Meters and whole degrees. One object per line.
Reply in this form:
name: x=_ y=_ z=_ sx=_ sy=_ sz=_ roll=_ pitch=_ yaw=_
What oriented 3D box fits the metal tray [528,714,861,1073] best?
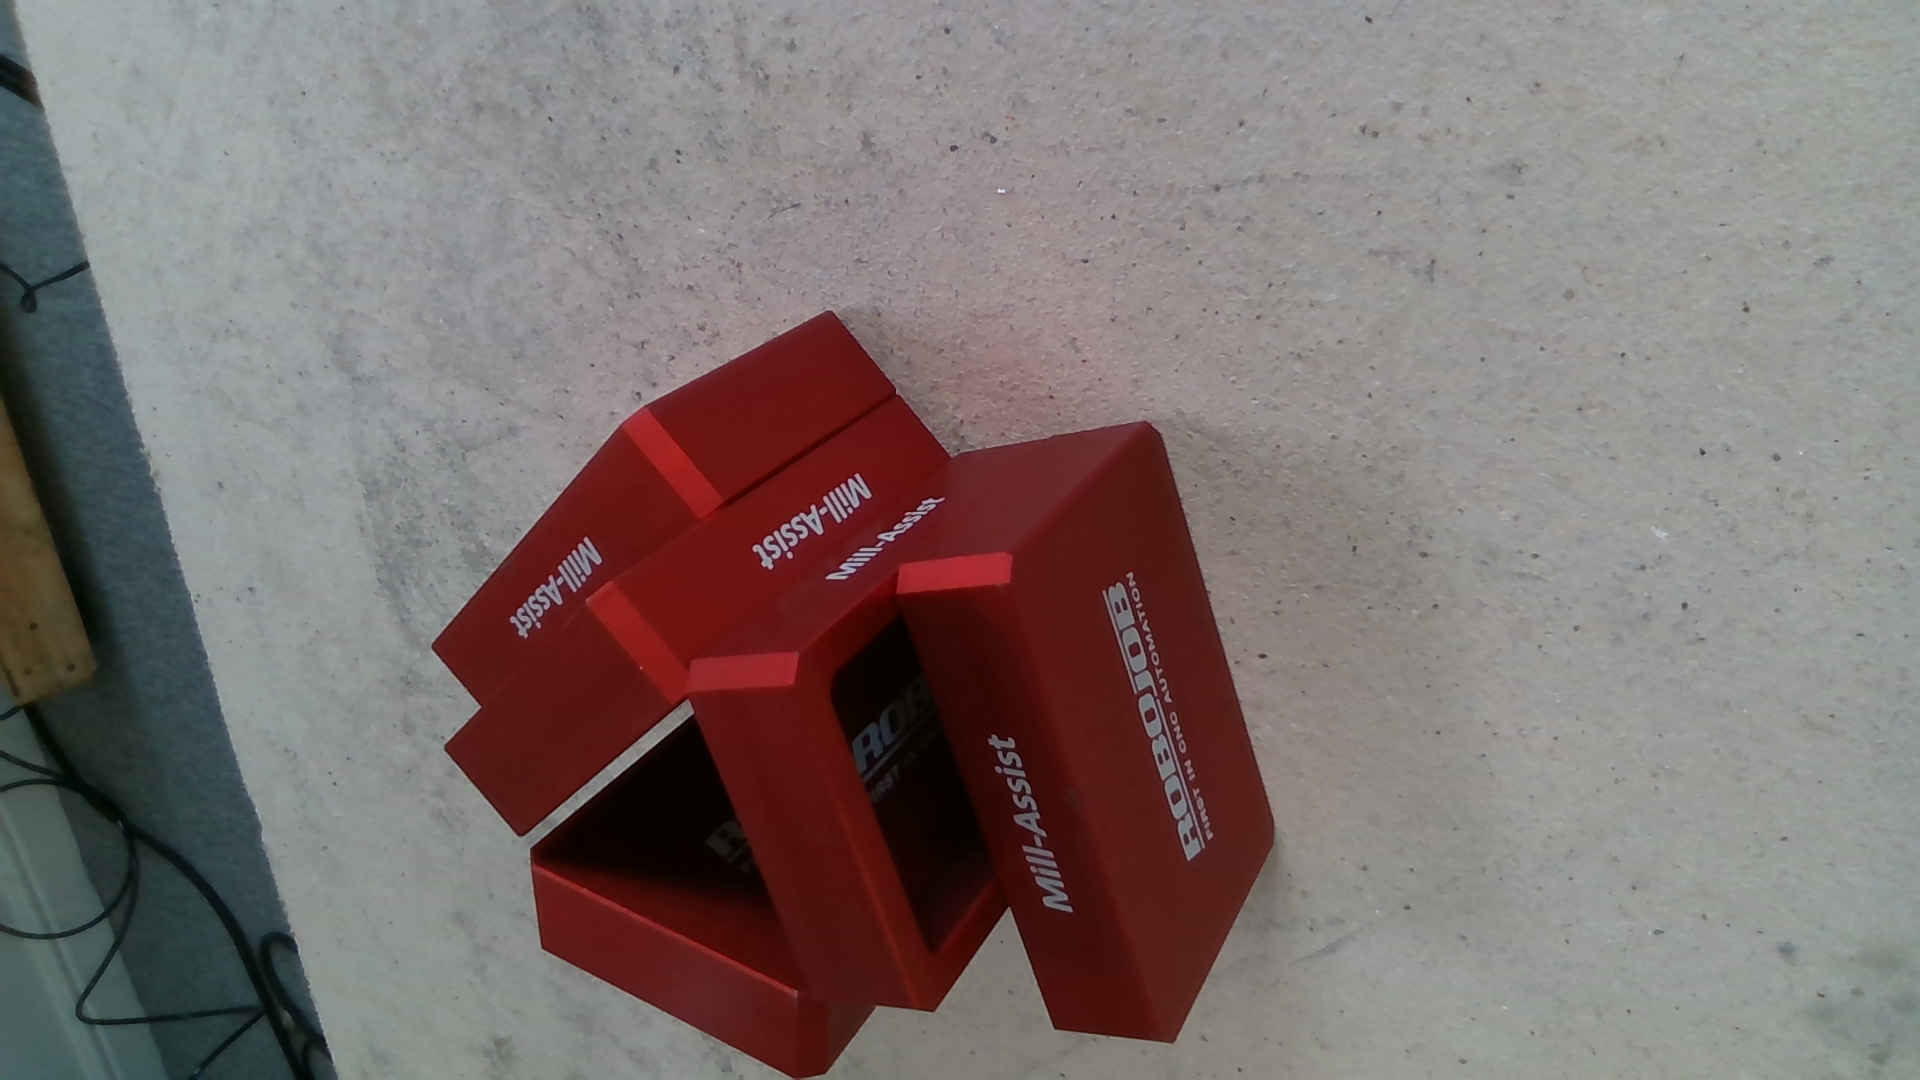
metal tray: x=-0.044 y=0.078 z=0.390 sx=0.090 sy=0.130 sz=0.030 roll=19 pitch=123 yaw=23

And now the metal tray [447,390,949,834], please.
metal tray: x=-0.064 y=0.016 z=0.369 sx=0.030 sy=0.130 sz=0.090 roll=50 pitch=129 yaw=-2

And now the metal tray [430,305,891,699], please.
metal tray: x=-0.087 y=-0.007 z=0.395 sx=0.030 sy=0.090 sz=0.130 roll=51 pitch=130 yaw=-1

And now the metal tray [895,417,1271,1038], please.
metal tray: x=0.037 y=0.045 z=0.348 sx=0.030 sy=0.090 sz=0.130 roll=-6 pitch=112 yaw=34

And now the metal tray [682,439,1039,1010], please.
metal tray: x=-0.003 y=0.039 z=0.344 sx=0.030 sy=0.130 sz=0.090 roll=-6 pitch=111 yaw=34
